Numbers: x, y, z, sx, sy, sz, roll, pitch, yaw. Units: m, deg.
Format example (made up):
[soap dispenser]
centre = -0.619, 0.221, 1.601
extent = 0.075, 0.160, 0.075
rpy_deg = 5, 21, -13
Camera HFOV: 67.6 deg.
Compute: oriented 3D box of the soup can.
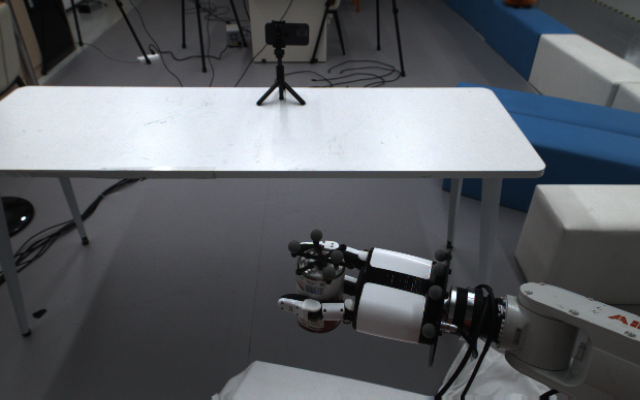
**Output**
[soup can]
centre = 0.002, 0.128, 0.678
extent = 0.067, 0.101, 0.067
rpy_deg = 2, 32, -1
